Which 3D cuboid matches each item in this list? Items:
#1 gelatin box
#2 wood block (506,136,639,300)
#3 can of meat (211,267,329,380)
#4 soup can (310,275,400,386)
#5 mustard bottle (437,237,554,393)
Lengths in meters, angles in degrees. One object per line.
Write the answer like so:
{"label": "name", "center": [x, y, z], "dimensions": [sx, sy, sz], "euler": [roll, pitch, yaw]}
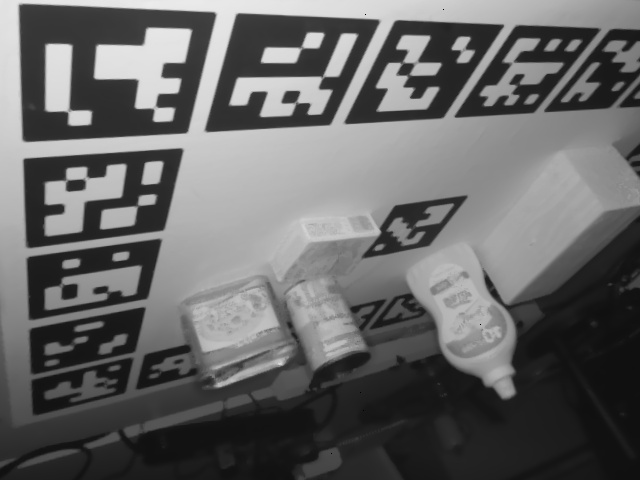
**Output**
{"label": "gelatin box", "center": [0.034, -0.002, 0.681], "dimensions": [0.091, 0.030, 0.072], "euler": [-3, 141, -37]}
{"label": "wood block", "center": [0.321, -0.021, 0.820], "dimensions": [0.092, 0.090, 0.203], "euler": [-6, 148, -27]}
{"label": "can of meat", "center": [-0.053, 0.082, 0.701], "dimensions": [0.103, 0.084, 0.057], "euler": [-14, 147, -14]}
{"label": "soup can", "center": [0.034, 0.097, 0.754], "dimensions": [0.068, 0.102, 0.067], "euler": [-20, 148, -12]}
{"label": "mustard bottle", "center": [0.220, 0.092, 0.826], "dimensions": [0.096, 0.191, 0.058], "euler": [-21, 150, -5]}
